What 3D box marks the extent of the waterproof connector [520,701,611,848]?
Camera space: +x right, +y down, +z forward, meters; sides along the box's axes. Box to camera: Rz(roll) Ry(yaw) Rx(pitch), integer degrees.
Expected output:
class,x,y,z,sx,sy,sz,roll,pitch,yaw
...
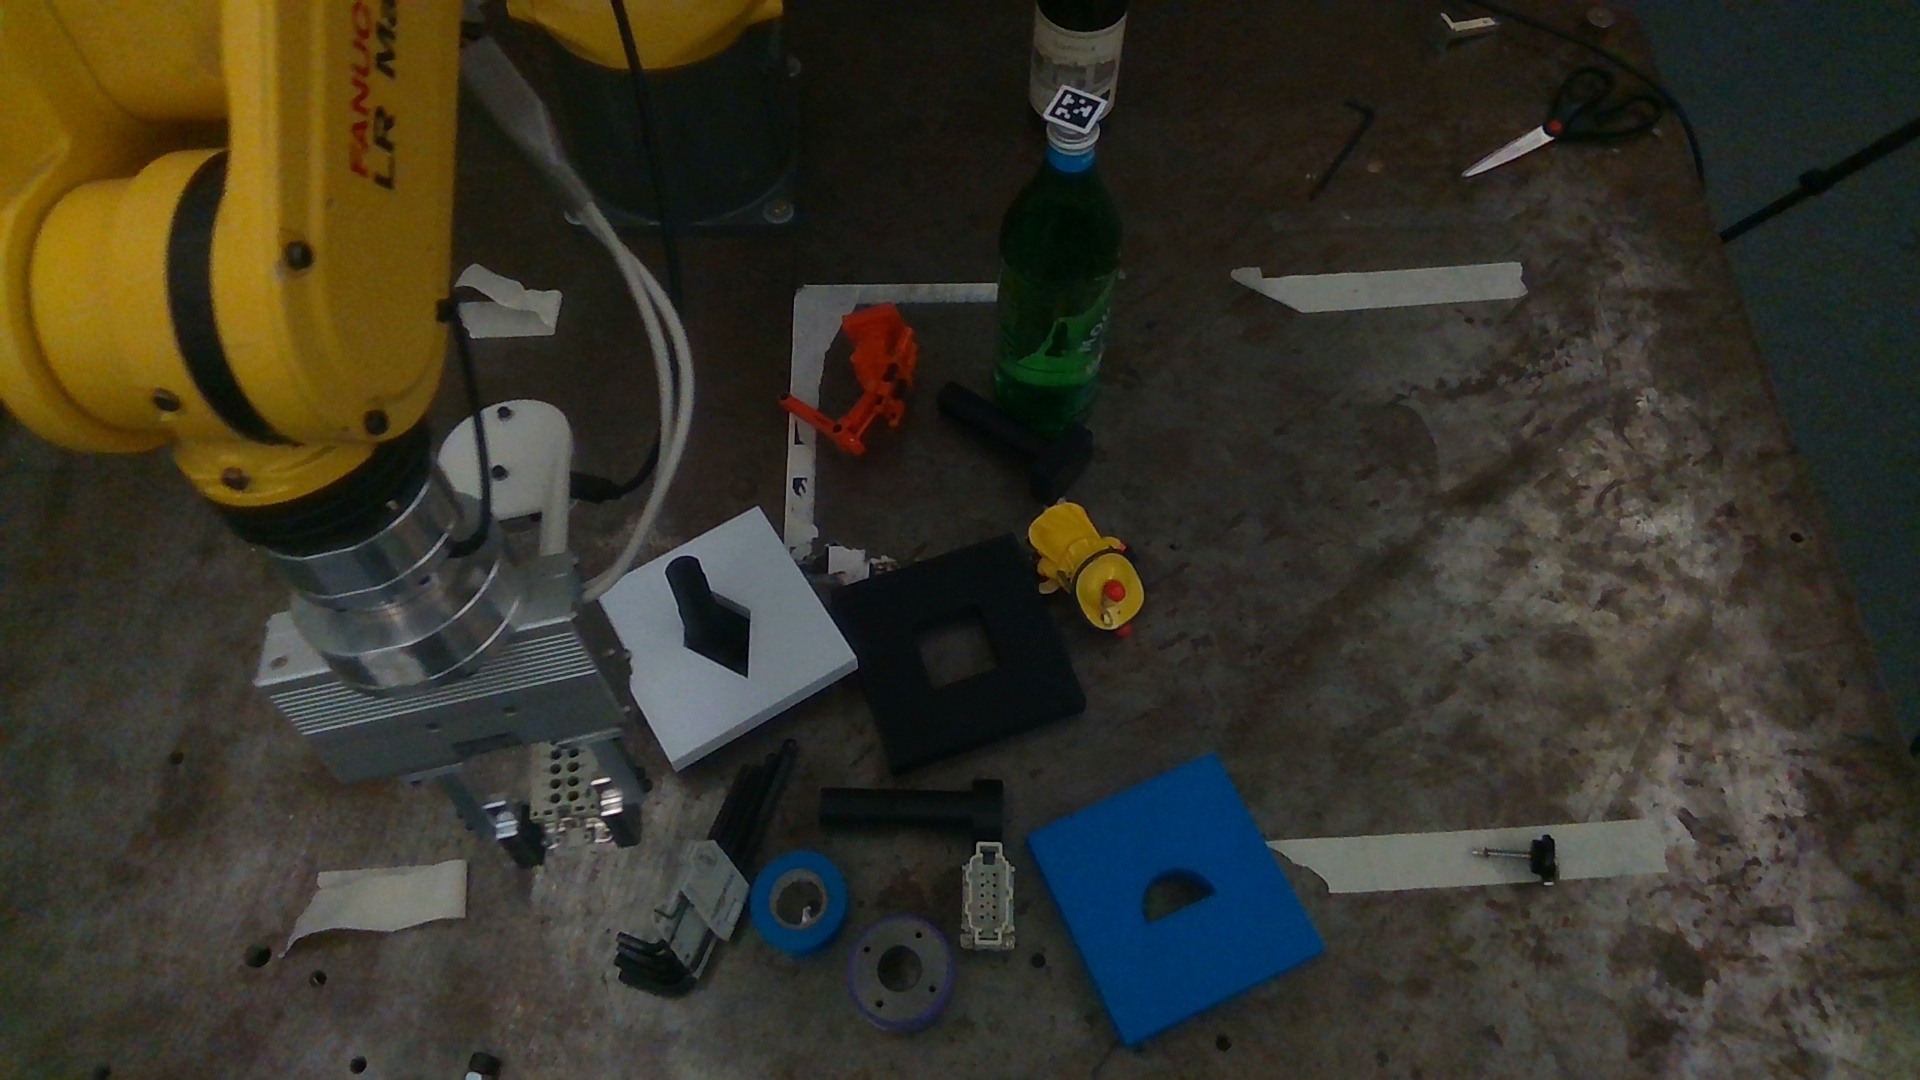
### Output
class,x,y,z,sx,sy,sz,roll,pitch,yaw
waterproof connector,-0.188,0.111,0.664,0.037,0.038,0.069,-10,65,-1
